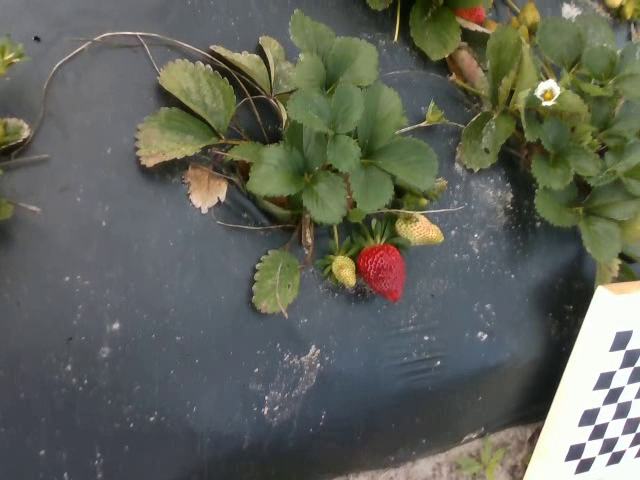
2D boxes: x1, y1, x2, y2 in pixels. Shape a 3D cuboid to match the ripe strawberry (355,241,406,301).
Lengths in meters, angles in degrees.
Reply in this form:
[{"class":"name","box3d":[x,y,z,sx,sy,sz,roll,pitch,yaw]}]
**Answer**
[{"class":"ripe strawberry","box3d":[0.055,0.032,0.532,0.046,0.059,0.045,-6,-40,-19]}]
